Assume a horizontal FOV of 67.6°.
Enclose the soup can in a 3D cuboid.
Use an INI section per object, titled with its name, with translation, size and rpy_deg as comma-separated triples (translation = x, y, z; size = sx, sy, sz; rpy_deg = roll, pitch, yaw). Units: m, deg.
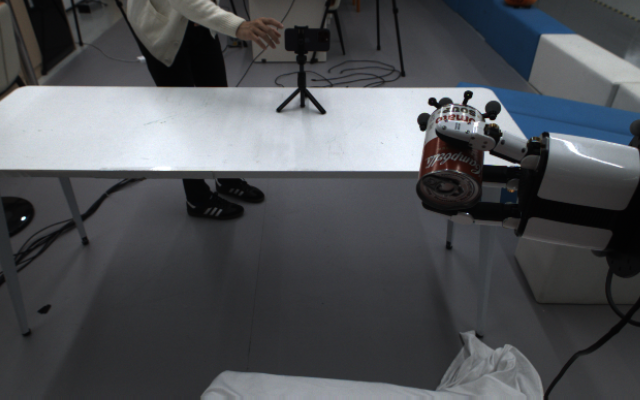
[soup can]
translation = 0.148, -0.050, 0.538
size = 0.067, 0.067, 0.101
rpy_deg = 9, 56, 10
